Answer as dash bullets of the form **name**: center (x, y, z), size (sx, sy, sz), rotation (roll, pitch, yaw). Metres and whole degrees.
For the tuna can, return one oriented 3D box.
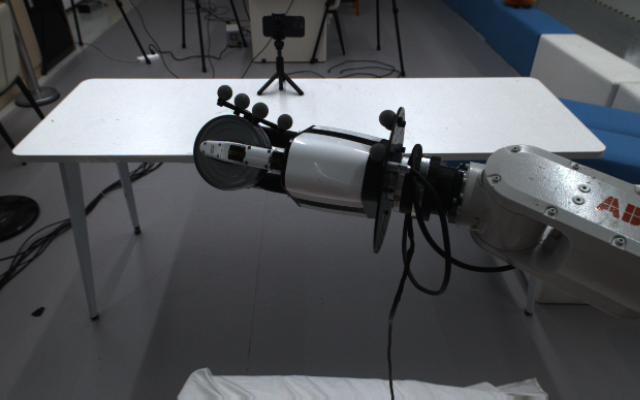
- **tuna can**: center (-0.098, -0.054, 0.562), size (0.085, 0.085, 0.034), rotation (10, 5, 11)
